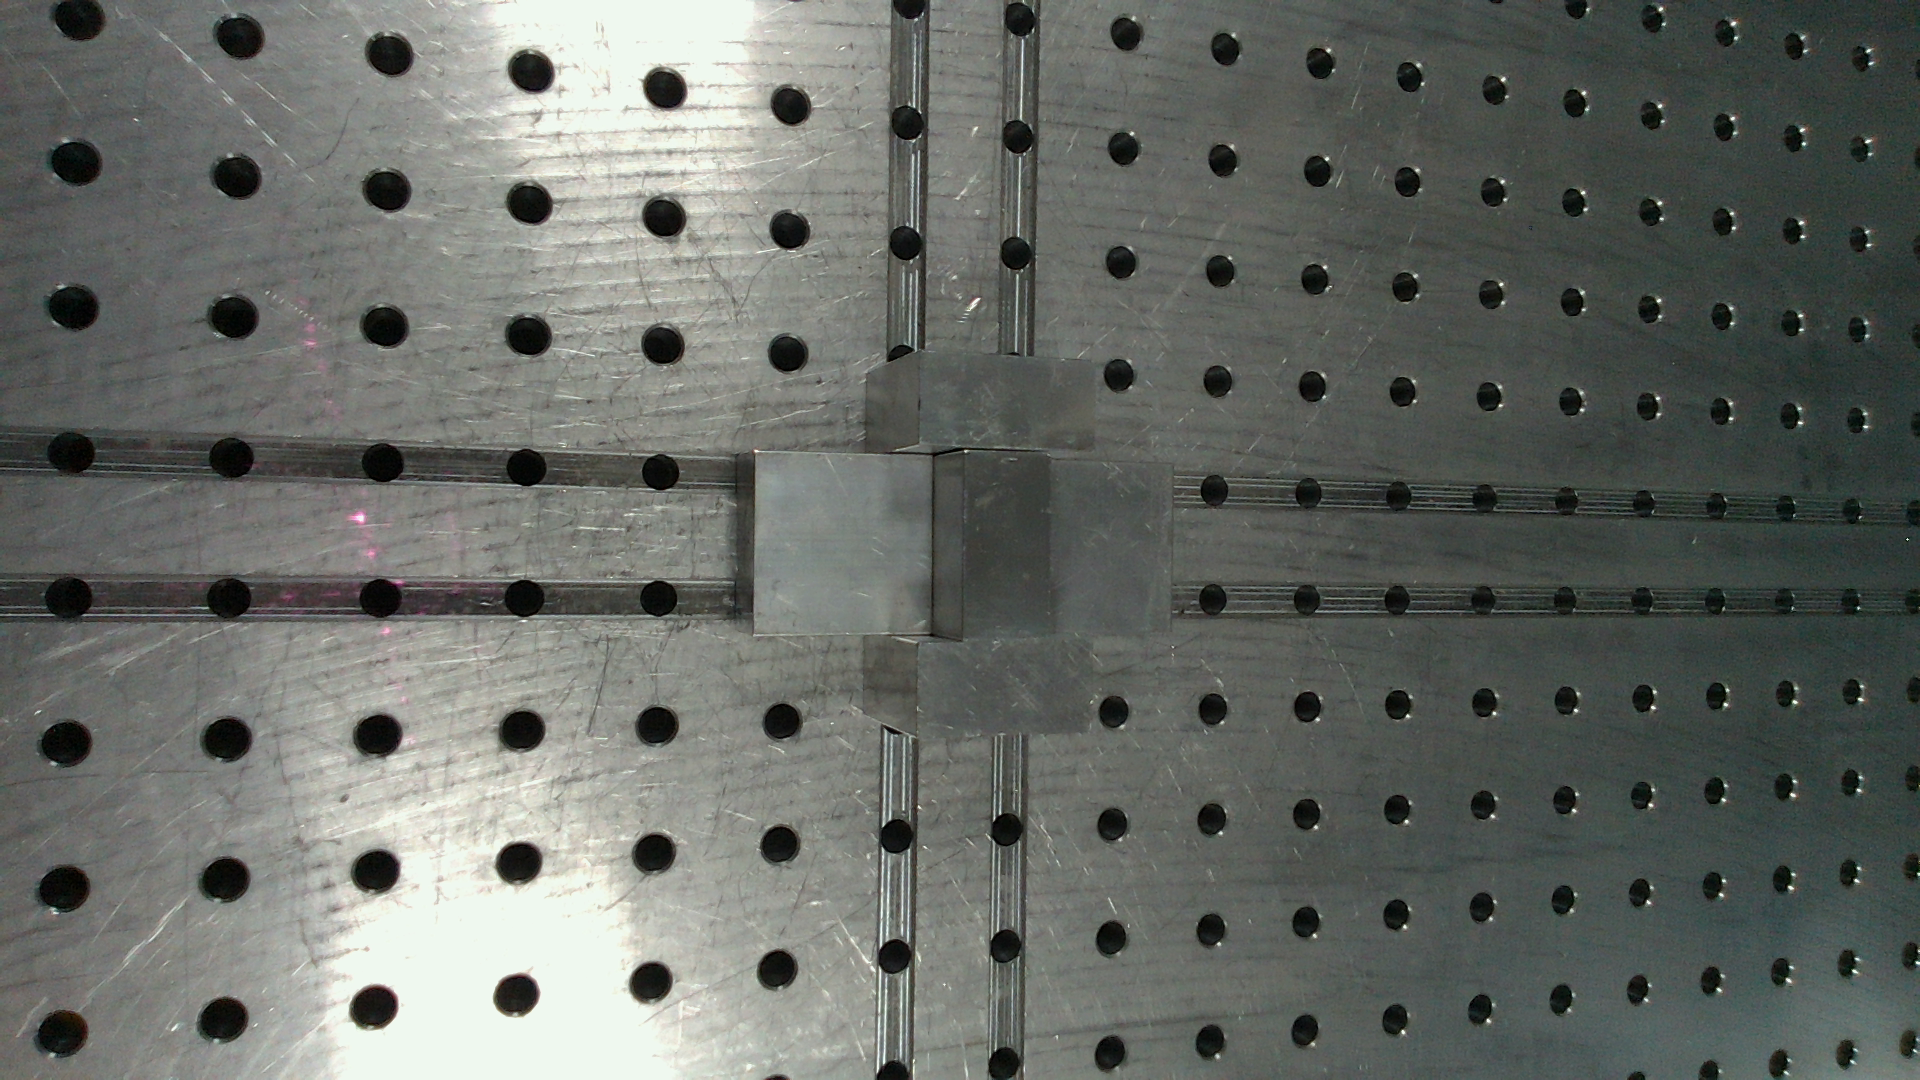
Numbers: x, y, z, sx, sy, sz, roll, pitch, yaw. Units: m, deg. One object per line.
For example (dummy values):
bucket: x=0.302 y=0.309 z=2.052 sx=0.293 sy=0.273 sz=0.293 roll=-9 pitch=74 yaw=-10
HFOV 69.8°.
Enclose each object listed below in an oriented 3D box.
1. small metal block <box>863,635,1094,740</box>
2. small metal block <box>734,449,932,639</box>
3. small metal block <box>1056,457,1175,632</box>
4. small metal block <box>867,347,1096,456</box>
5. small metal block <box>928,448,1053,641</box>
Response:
small metal block: x=0.004 y=0.039 z=0.384 sx=0.050 sy=0.050 sz=0.025 roll=1 pitch=90 yaw=-20
small metal block: x=-0.036 y=0.001 z=0.383 sx=0.050 sy=0.025 sz=0.050 roll=0 pitch=90 yaw=-20
small metal block: x=0.035 y=0.002 z=0.408 sx=0.050 sy=0.025 sz=0.050 roll=1 pitch=90 yaw=-20
small metal block: x=0.004 y=-0.037 z=0.384 sx=0.050 sy=0.050 sz=0.025 roll=1 pitch=90 yaw=-20
small metal block: x=0.004 y=0.001 z=0.384 sx=0.025 sy=0.050 sz=0.050 roll=1 pitch=90 yaw=-20
